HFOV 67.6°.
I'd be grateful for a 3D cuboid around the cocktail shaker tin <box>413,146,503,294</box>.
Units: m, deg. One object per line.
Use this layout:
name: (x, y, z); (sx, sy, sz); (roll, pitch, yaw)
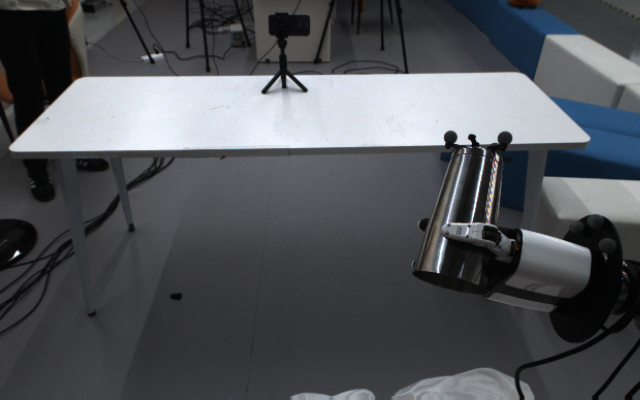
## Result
cocktail shaker tin: (0.182, 0.024, 0.610); (0.093, 0.093, 0.170); (13, 74, 15)
